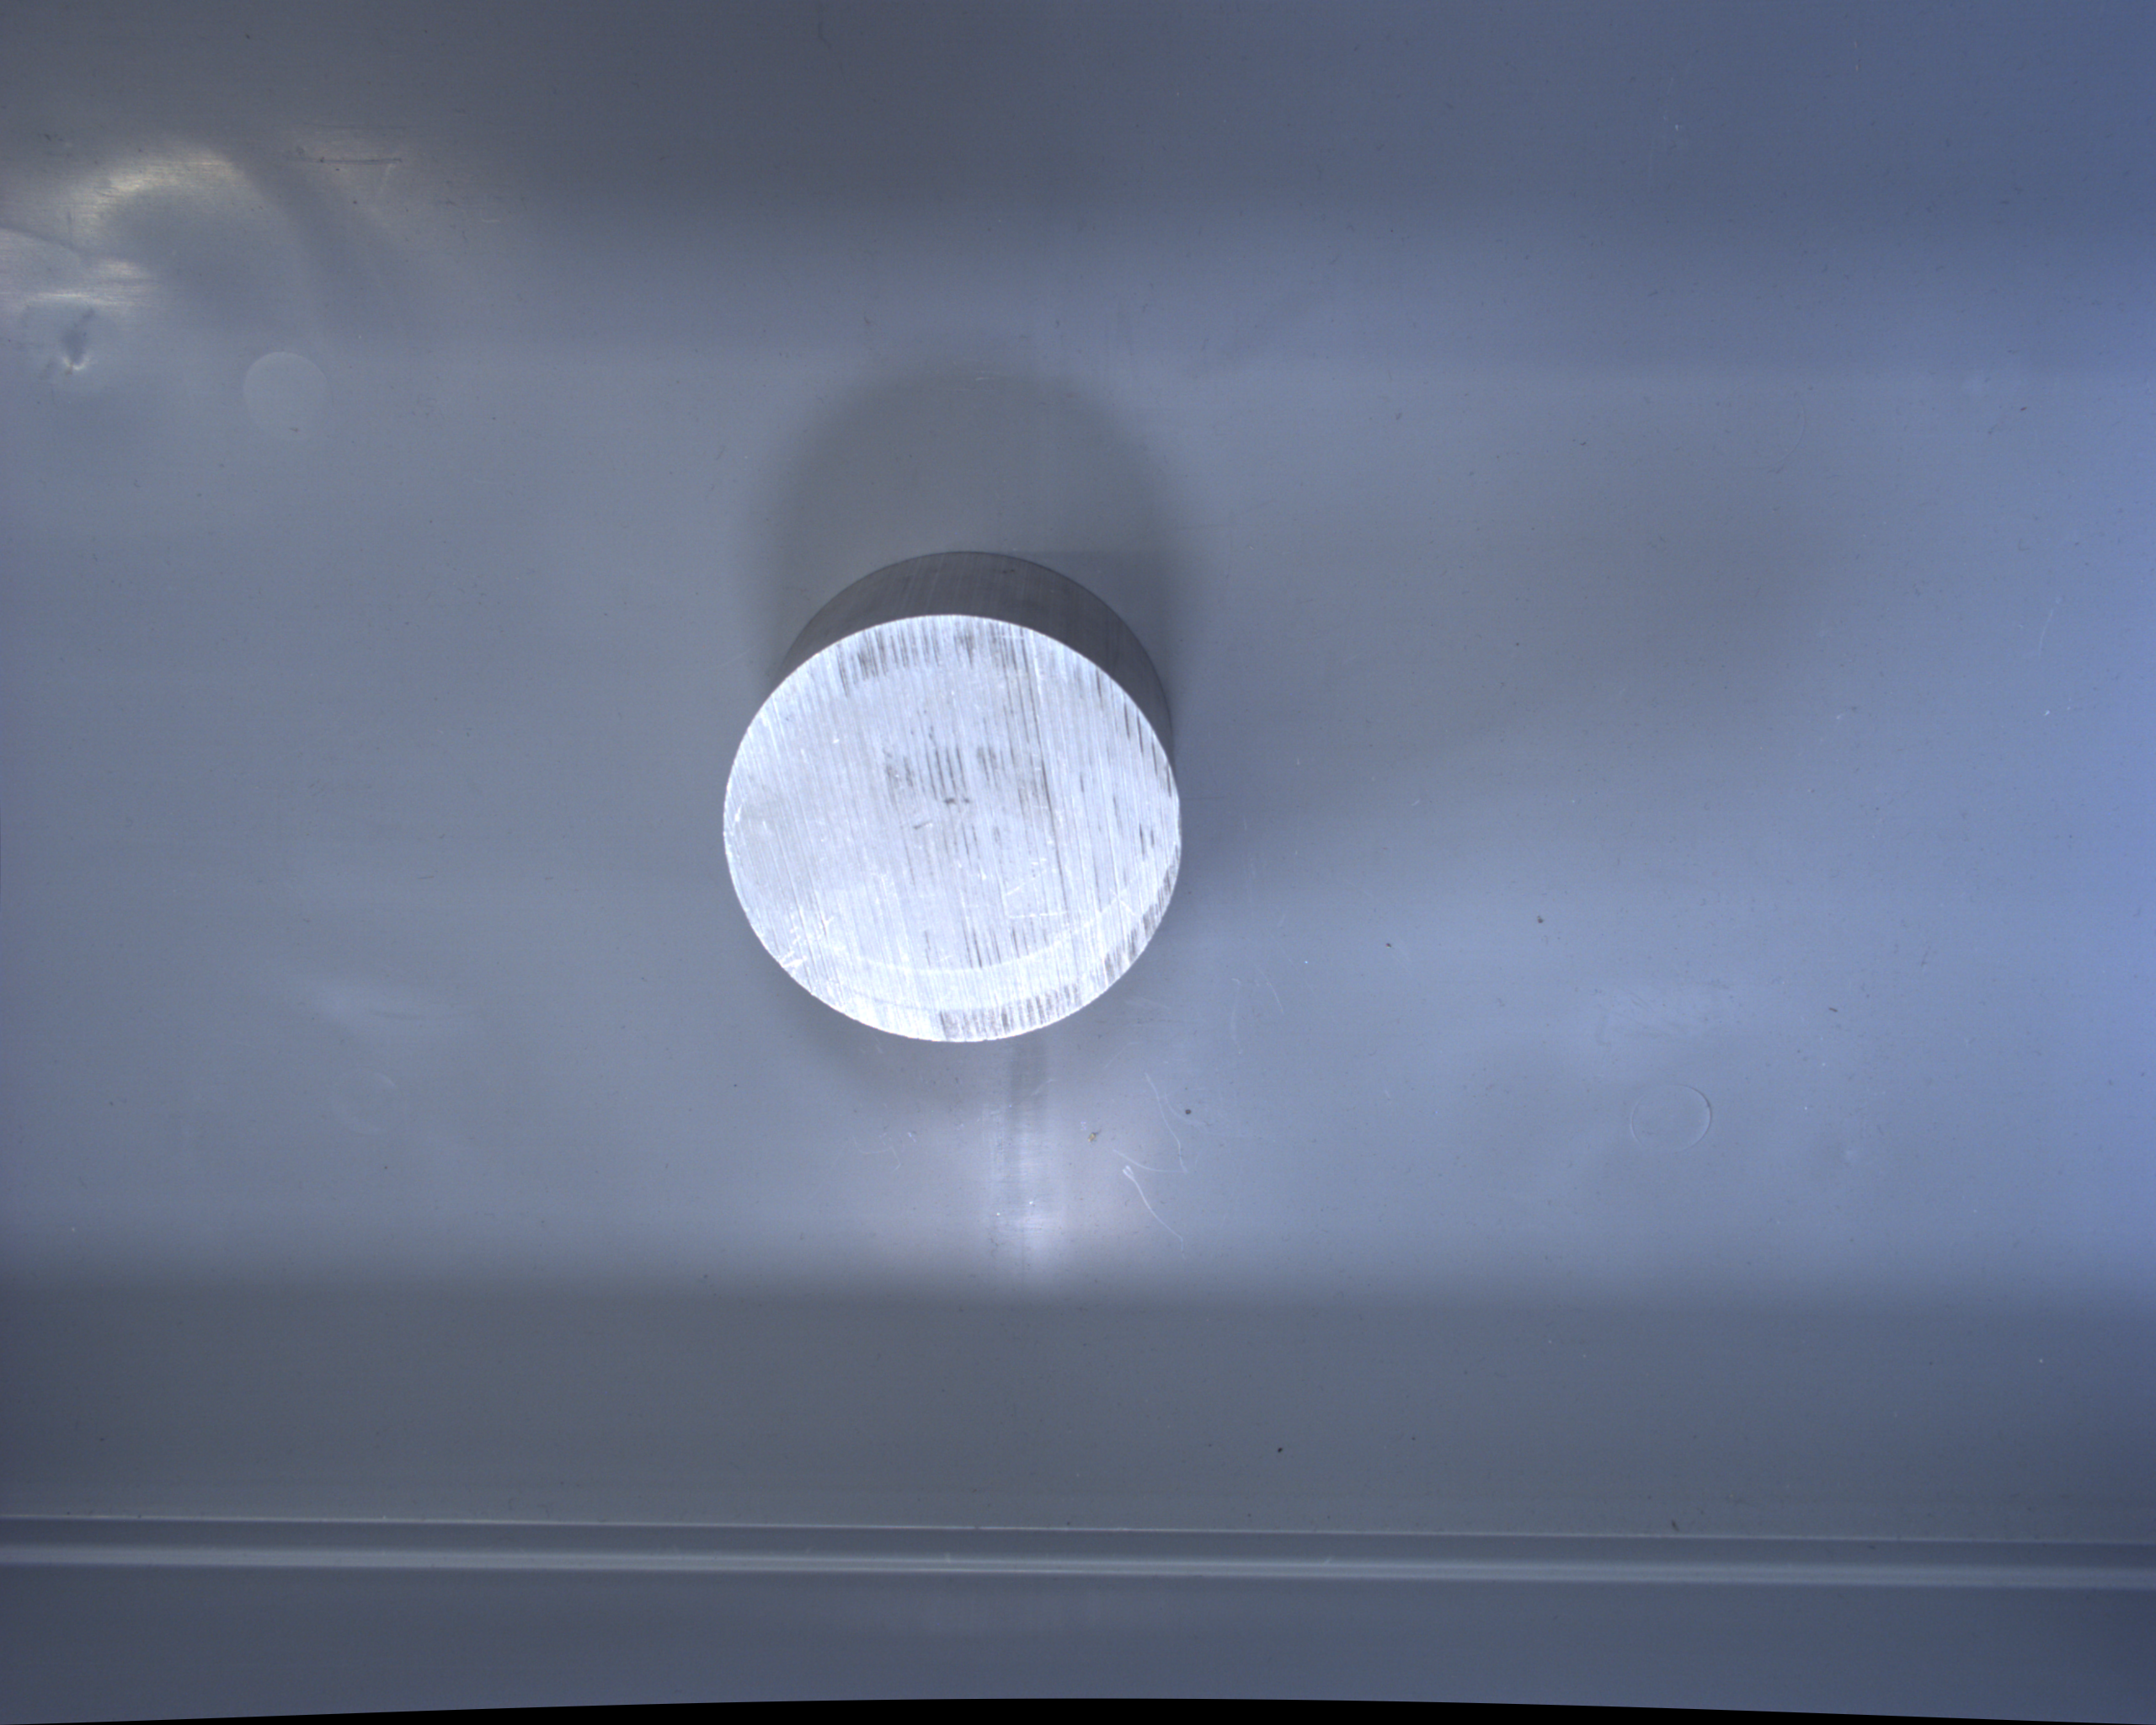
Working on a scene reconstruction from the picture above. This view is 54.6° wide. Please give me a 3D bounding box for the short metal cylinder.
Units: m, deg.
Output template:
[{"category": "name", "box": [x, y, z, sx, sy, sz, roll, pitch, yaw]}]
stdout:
[{"category": "short metal cylinder", "box": [-0.022, -0.013, 0.390, 0.080, 0.050, 0.079, 0, 110, 0]}]
